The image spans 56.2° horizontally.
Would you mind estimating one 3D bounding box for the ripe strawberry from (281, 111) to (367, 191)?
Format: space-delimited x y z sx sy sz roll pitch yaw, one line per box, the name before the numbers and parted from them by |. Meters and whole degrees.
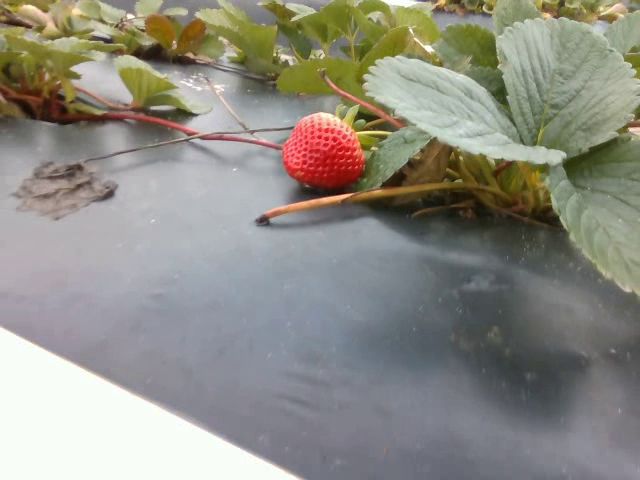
ripe strawberry | -0.003 -0.064 0.397 0.061 0.065 0.050 32 -23 21
